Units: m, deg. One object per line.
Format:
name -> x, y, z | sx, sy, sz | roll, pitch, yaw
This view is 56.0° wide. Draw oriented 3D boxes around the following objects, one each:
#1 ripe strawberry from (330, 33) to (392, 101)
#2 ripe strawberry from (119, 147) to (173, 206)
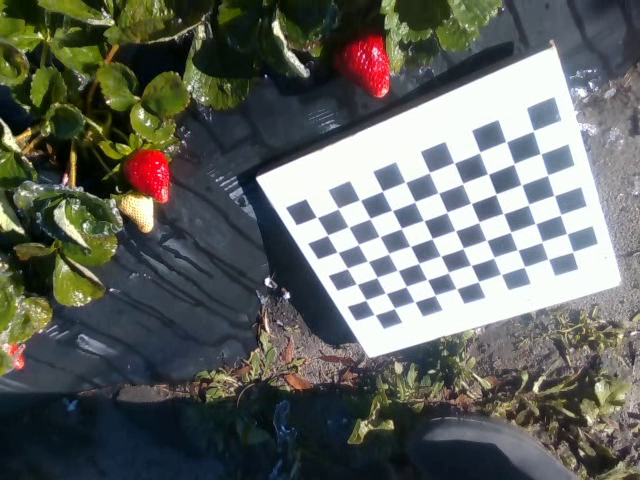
ripe strawberry -> 0.039, -0.140, 0.490 | 0.048, 0.061, 0.044 | -27, -3, 22
ripe strawberry -> -0.157, -0.058, 0.574 | 0.042, 0.061, 0.046 | -34, -15, 25
